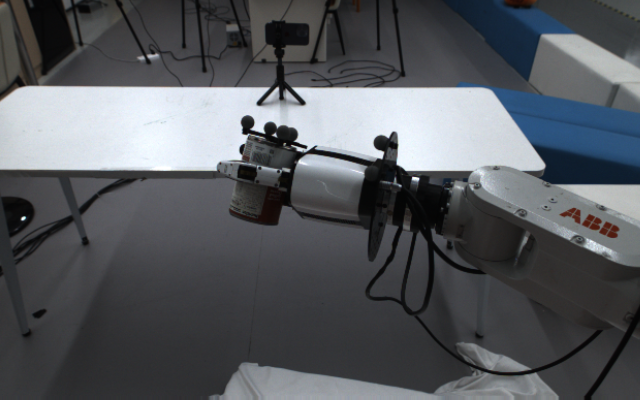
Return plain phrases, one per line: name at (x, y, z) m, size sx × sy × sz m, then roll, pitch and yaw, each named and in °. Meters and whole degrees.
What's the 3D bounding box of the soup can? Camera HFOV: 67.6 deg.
soup can at (-0.073, -0.025, 0.622) m, size 0.067 × 0.101 × 0.067 m, roll 15°, pitch 7°, yaw -2°
